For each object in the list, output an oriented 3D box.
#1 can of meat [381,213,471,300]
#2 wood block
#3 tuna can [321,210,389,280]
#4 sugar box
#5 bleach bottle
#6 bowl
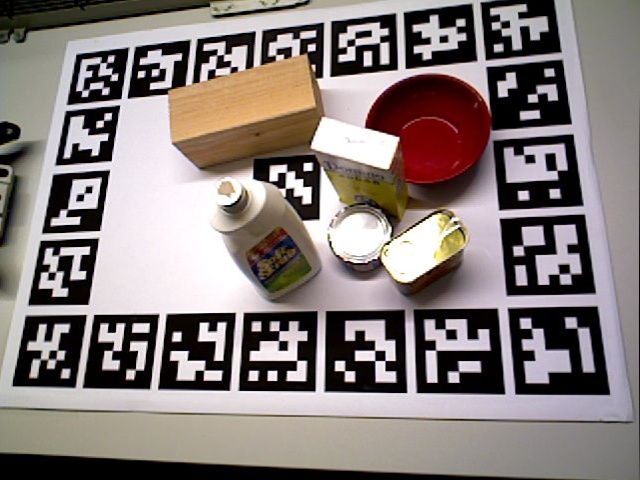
[{"bbox_3d":[0.126,0.021,0.651,0.101,0.084,0.057,-31,64,-1],"label":"can of meat"},{"bbox_3d":[-0.108,-0.170,0.764,0.206,0.090,0.090,-12,73,8],"label":"wood block"},{"bbox_3d":[0.046,0.008,0.693,0.086,0.034,0.085,-4,74,12],"label":"tuna can"},{"bbox_3d":[0.056,-0.076,0.642,0.093,0.177,0.045,18,76,21],"label":"sugar box"},{"bbox_3d":[-0.071,-0.001,0.610,0.102,0.252,0.067,-27,66,1],"label":"bleach bottle"},{"bbox_3d":[0.147,-0.135,0.710,0.162,0.055,0.160,-6,70,15],"label":"bowl"}]
